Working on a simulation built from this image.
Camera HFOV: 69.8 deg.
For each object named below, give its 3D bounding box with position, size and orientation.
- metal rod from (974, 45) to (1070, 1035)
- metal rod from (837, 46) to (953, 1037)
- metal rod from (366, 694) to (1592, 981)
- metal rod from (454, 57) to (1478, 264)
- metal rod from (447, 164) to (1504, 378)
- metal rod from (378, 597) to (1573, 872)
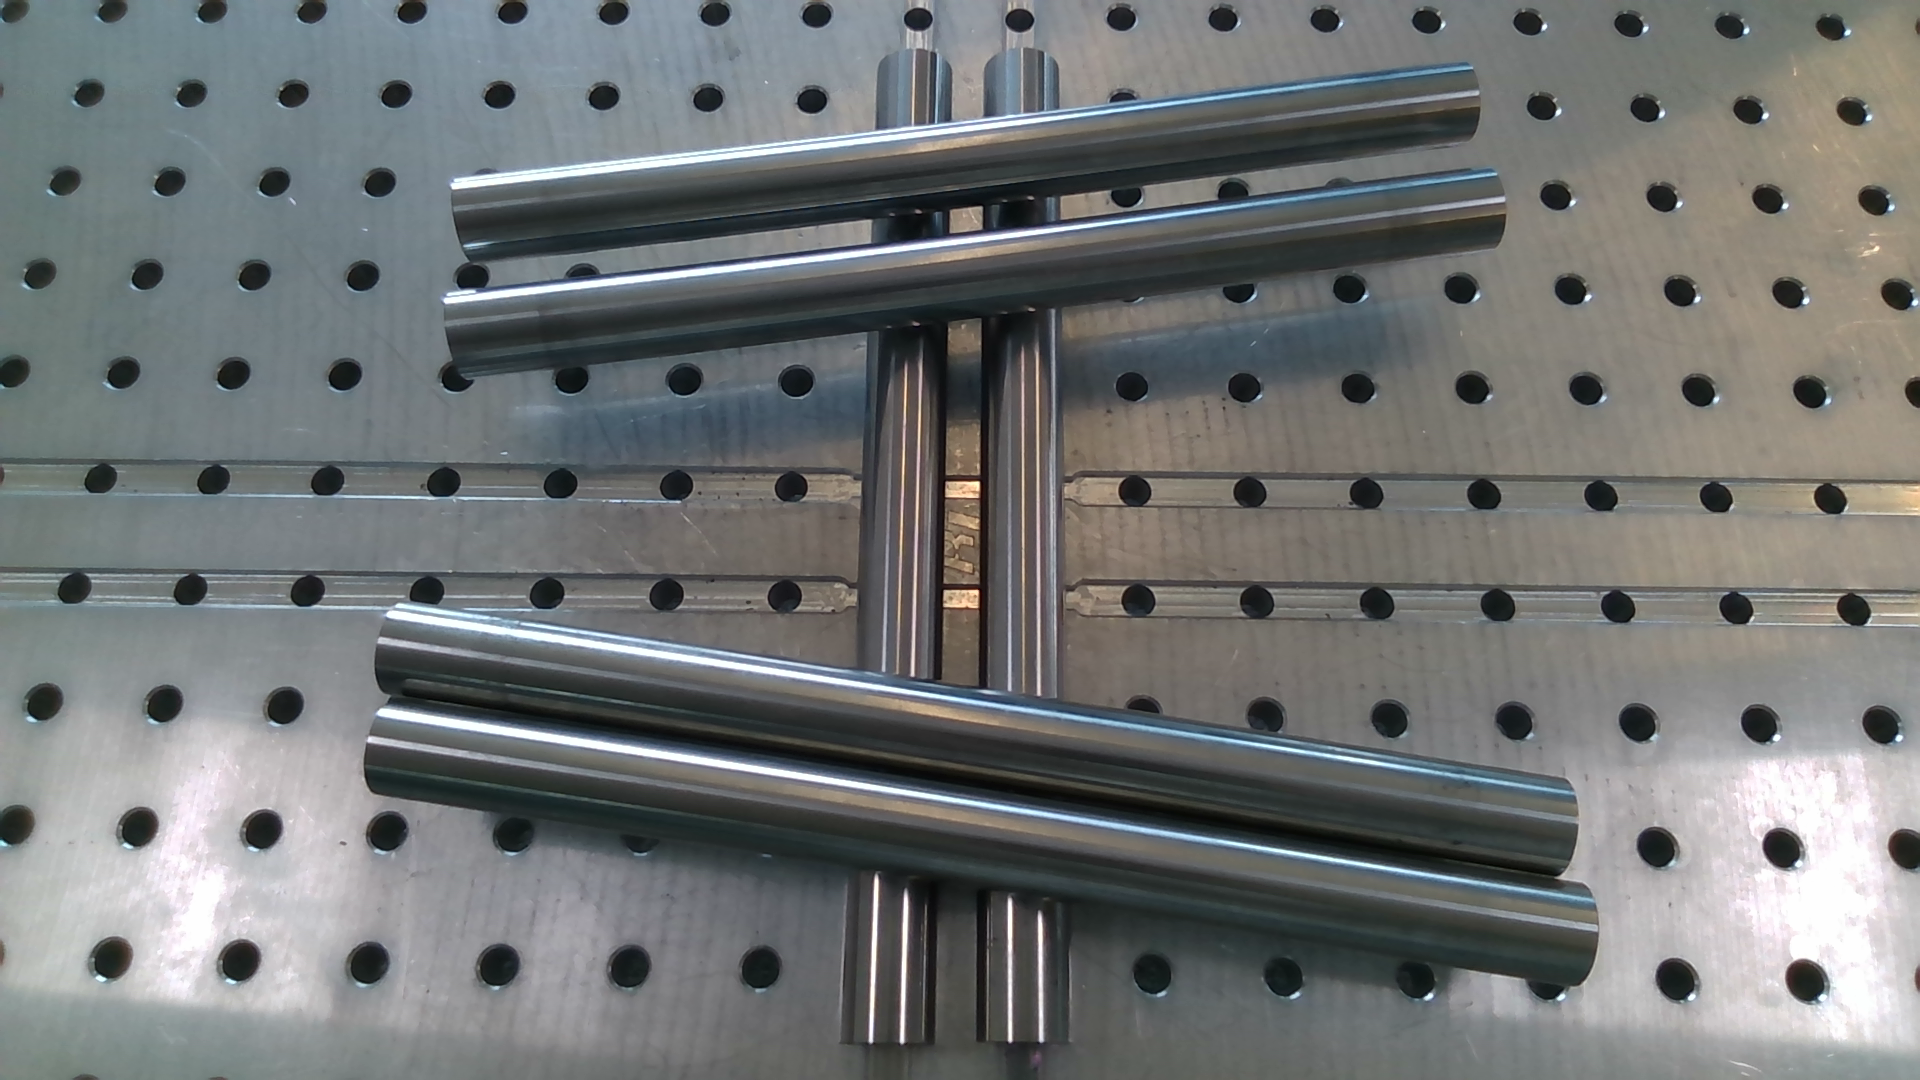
[{"bbox_3d":[0.018,-0.014,0.404,0.025,0.025,0.299,1,70,0],"label":"metal rod"},{"bbox_3d":[-0.017,-0.014,0.403,0.025,0.025,0.299,1,70,0],"label":"metal rod"},{"bbox_3d":[0.002,0.074,0.346,0.300,0.025,0.025,8,70,3],"label":"metal rod"},{"bbox_3d":[0.004,-0.114,0.413,0.300,0.025,0.025,-8,70,-3],"label":"metal rod"},{"bbox_3d":[0.006,-0.079,0.400,0.300,0.025,0.025,-8,70,-3],"label":"metal rod"},{"bbox_3d":[0.001,0.049,0.355,0.300,0.025,0.025,8,70,3],"label":"metal rod"}]
